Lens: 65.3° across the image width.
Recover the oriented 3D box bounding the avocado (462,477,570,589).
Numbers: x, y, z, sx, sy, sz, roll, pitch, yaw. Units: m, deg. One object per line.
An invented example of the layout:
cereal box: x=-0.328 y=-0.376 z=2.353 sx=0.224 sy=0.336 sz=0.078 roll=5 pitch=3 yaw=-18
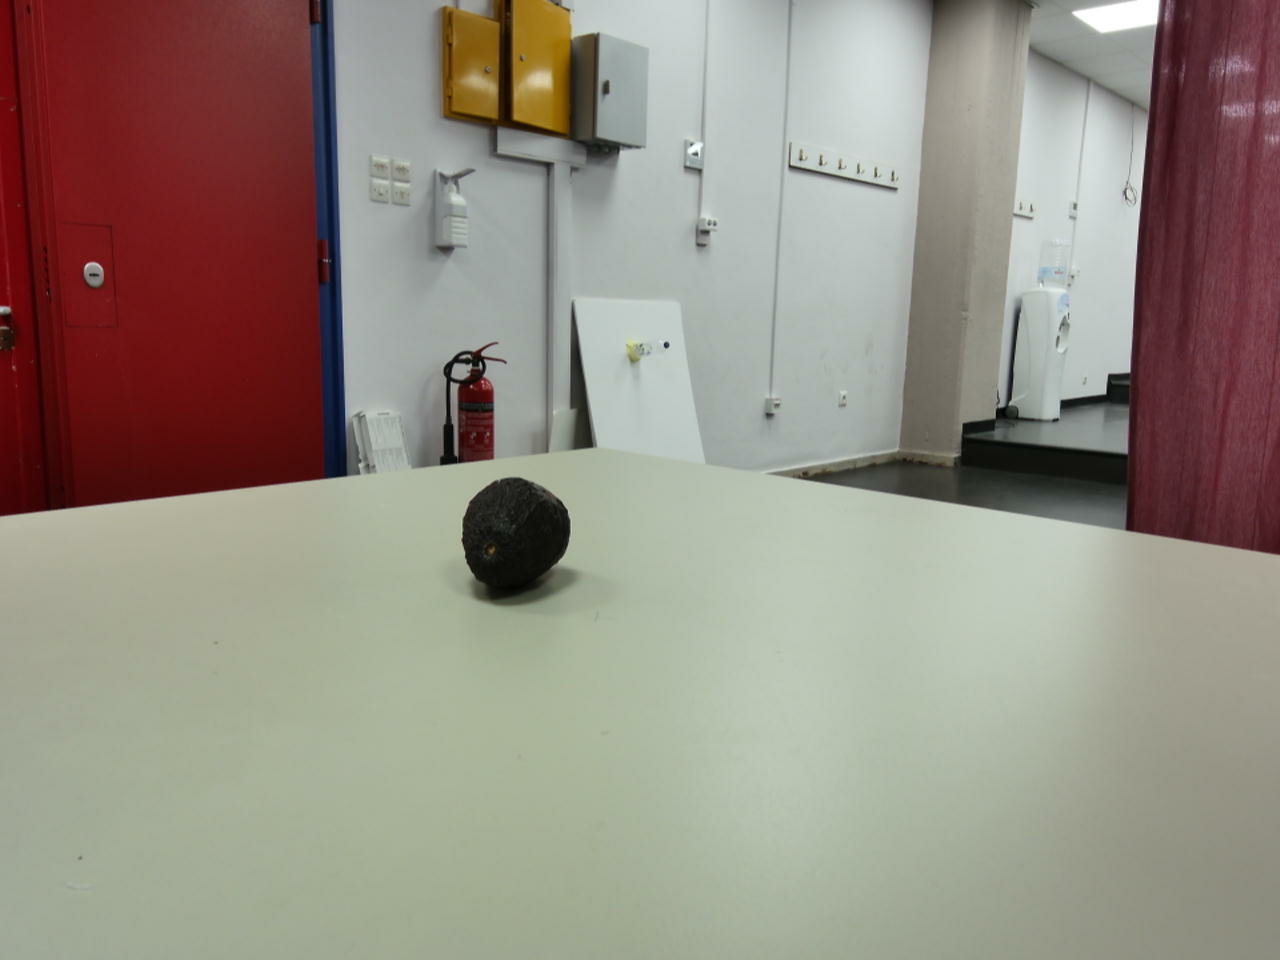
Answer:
avocado: x=-0.075 y=0.031 z=0.587 sx=0.062 sy=0.062 sz=0.092 roll=4 pitch=9 yaw=19
